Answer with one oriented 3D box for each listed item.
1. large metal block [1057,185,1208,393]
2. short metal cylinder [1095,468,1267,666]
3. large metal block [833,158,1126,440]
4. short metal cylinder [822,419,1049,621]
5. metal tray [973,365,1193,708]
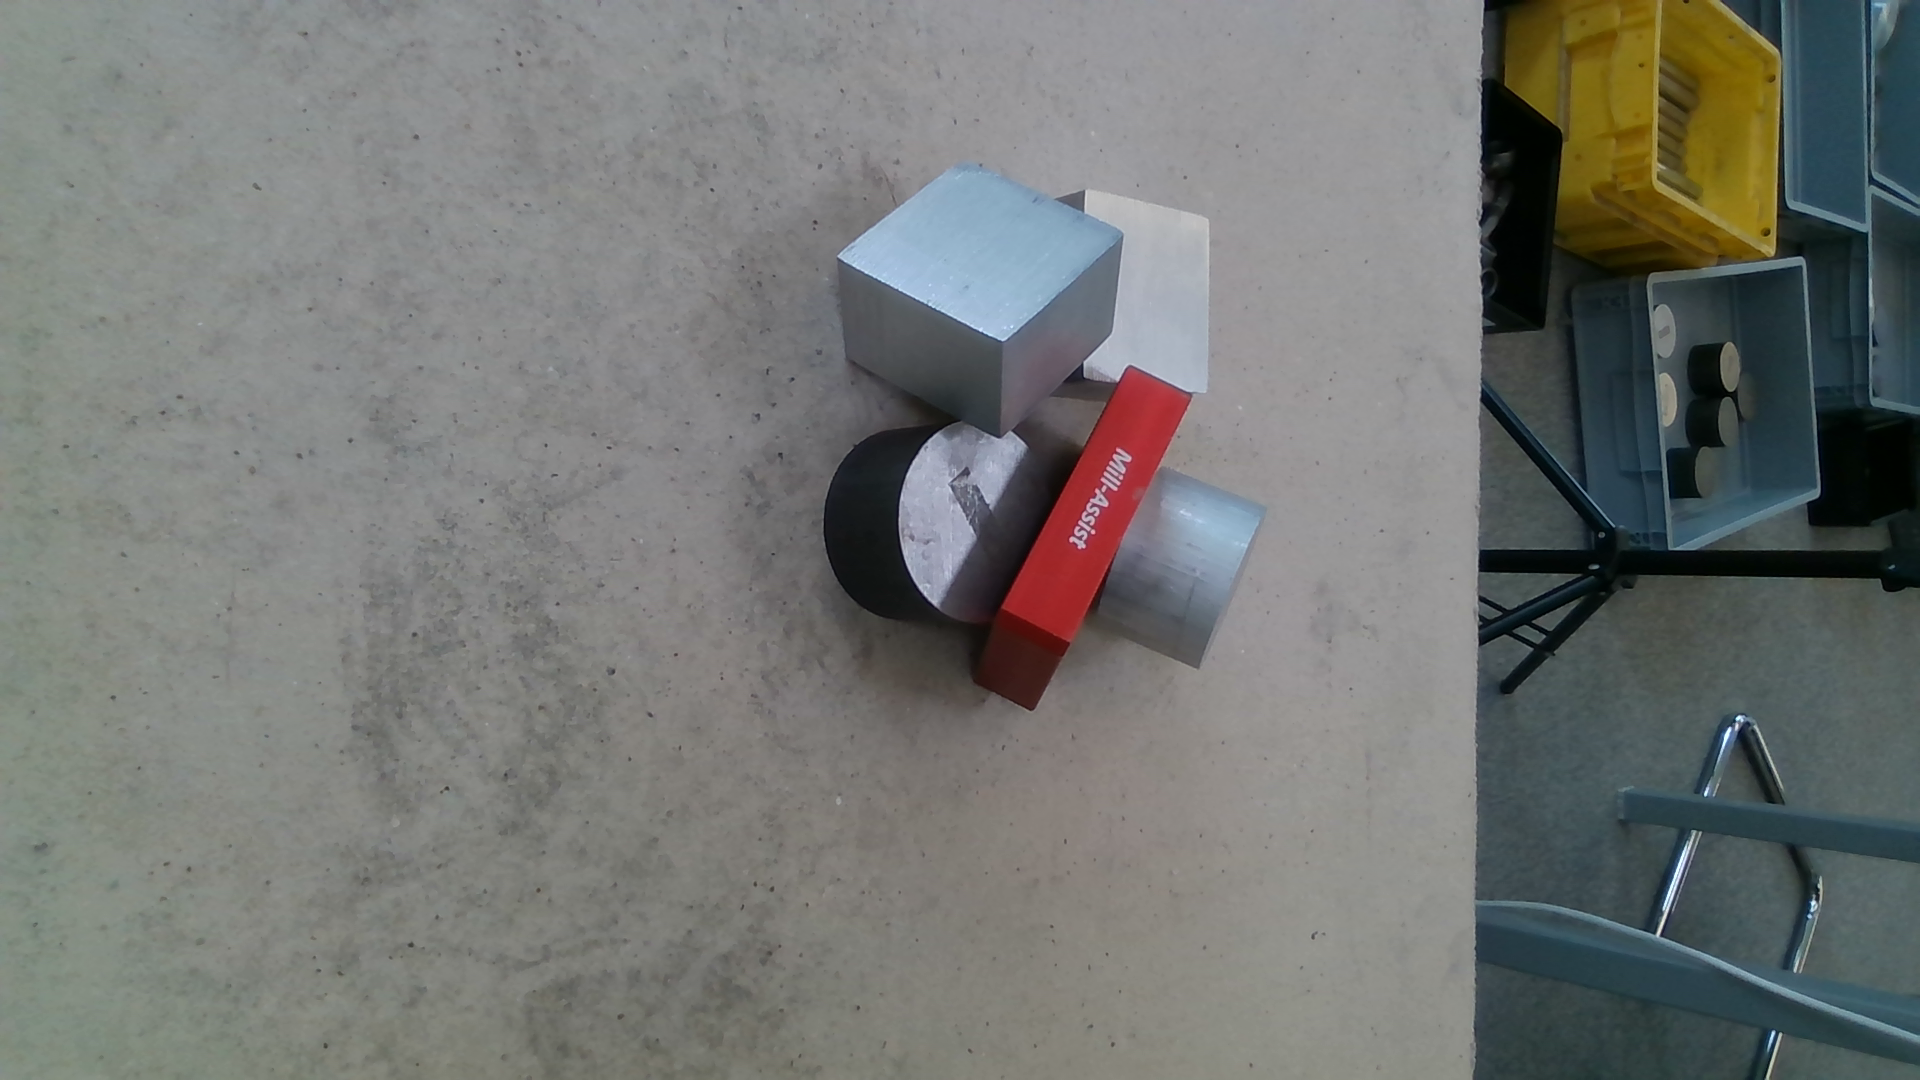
[{"bbox_3d":[0.066,-0.108,0.620,0.080,0.050,0.080,1,89,-40],"label":"large metal block"},{"bbox_3d":[0.101,0.011,0.627,0.080,0.050,0.080,-60,165,-28],"label":"short metal cylinder"},{"bbox_3d":[0.008,-0.097,0.545,0.080,0.080,0.050,-45,153,-31],"label":"large metal block"},{"bbox_3d":[-0.009,-0.008,0.561,0.080,0.050,0.080,0,90,-40],"label":"short metal cylinder"},{"bbox_3d":[0.051,0.000,0.586,0.030,0.090,0.130,27,68,5],"label":"metal tray"}]
